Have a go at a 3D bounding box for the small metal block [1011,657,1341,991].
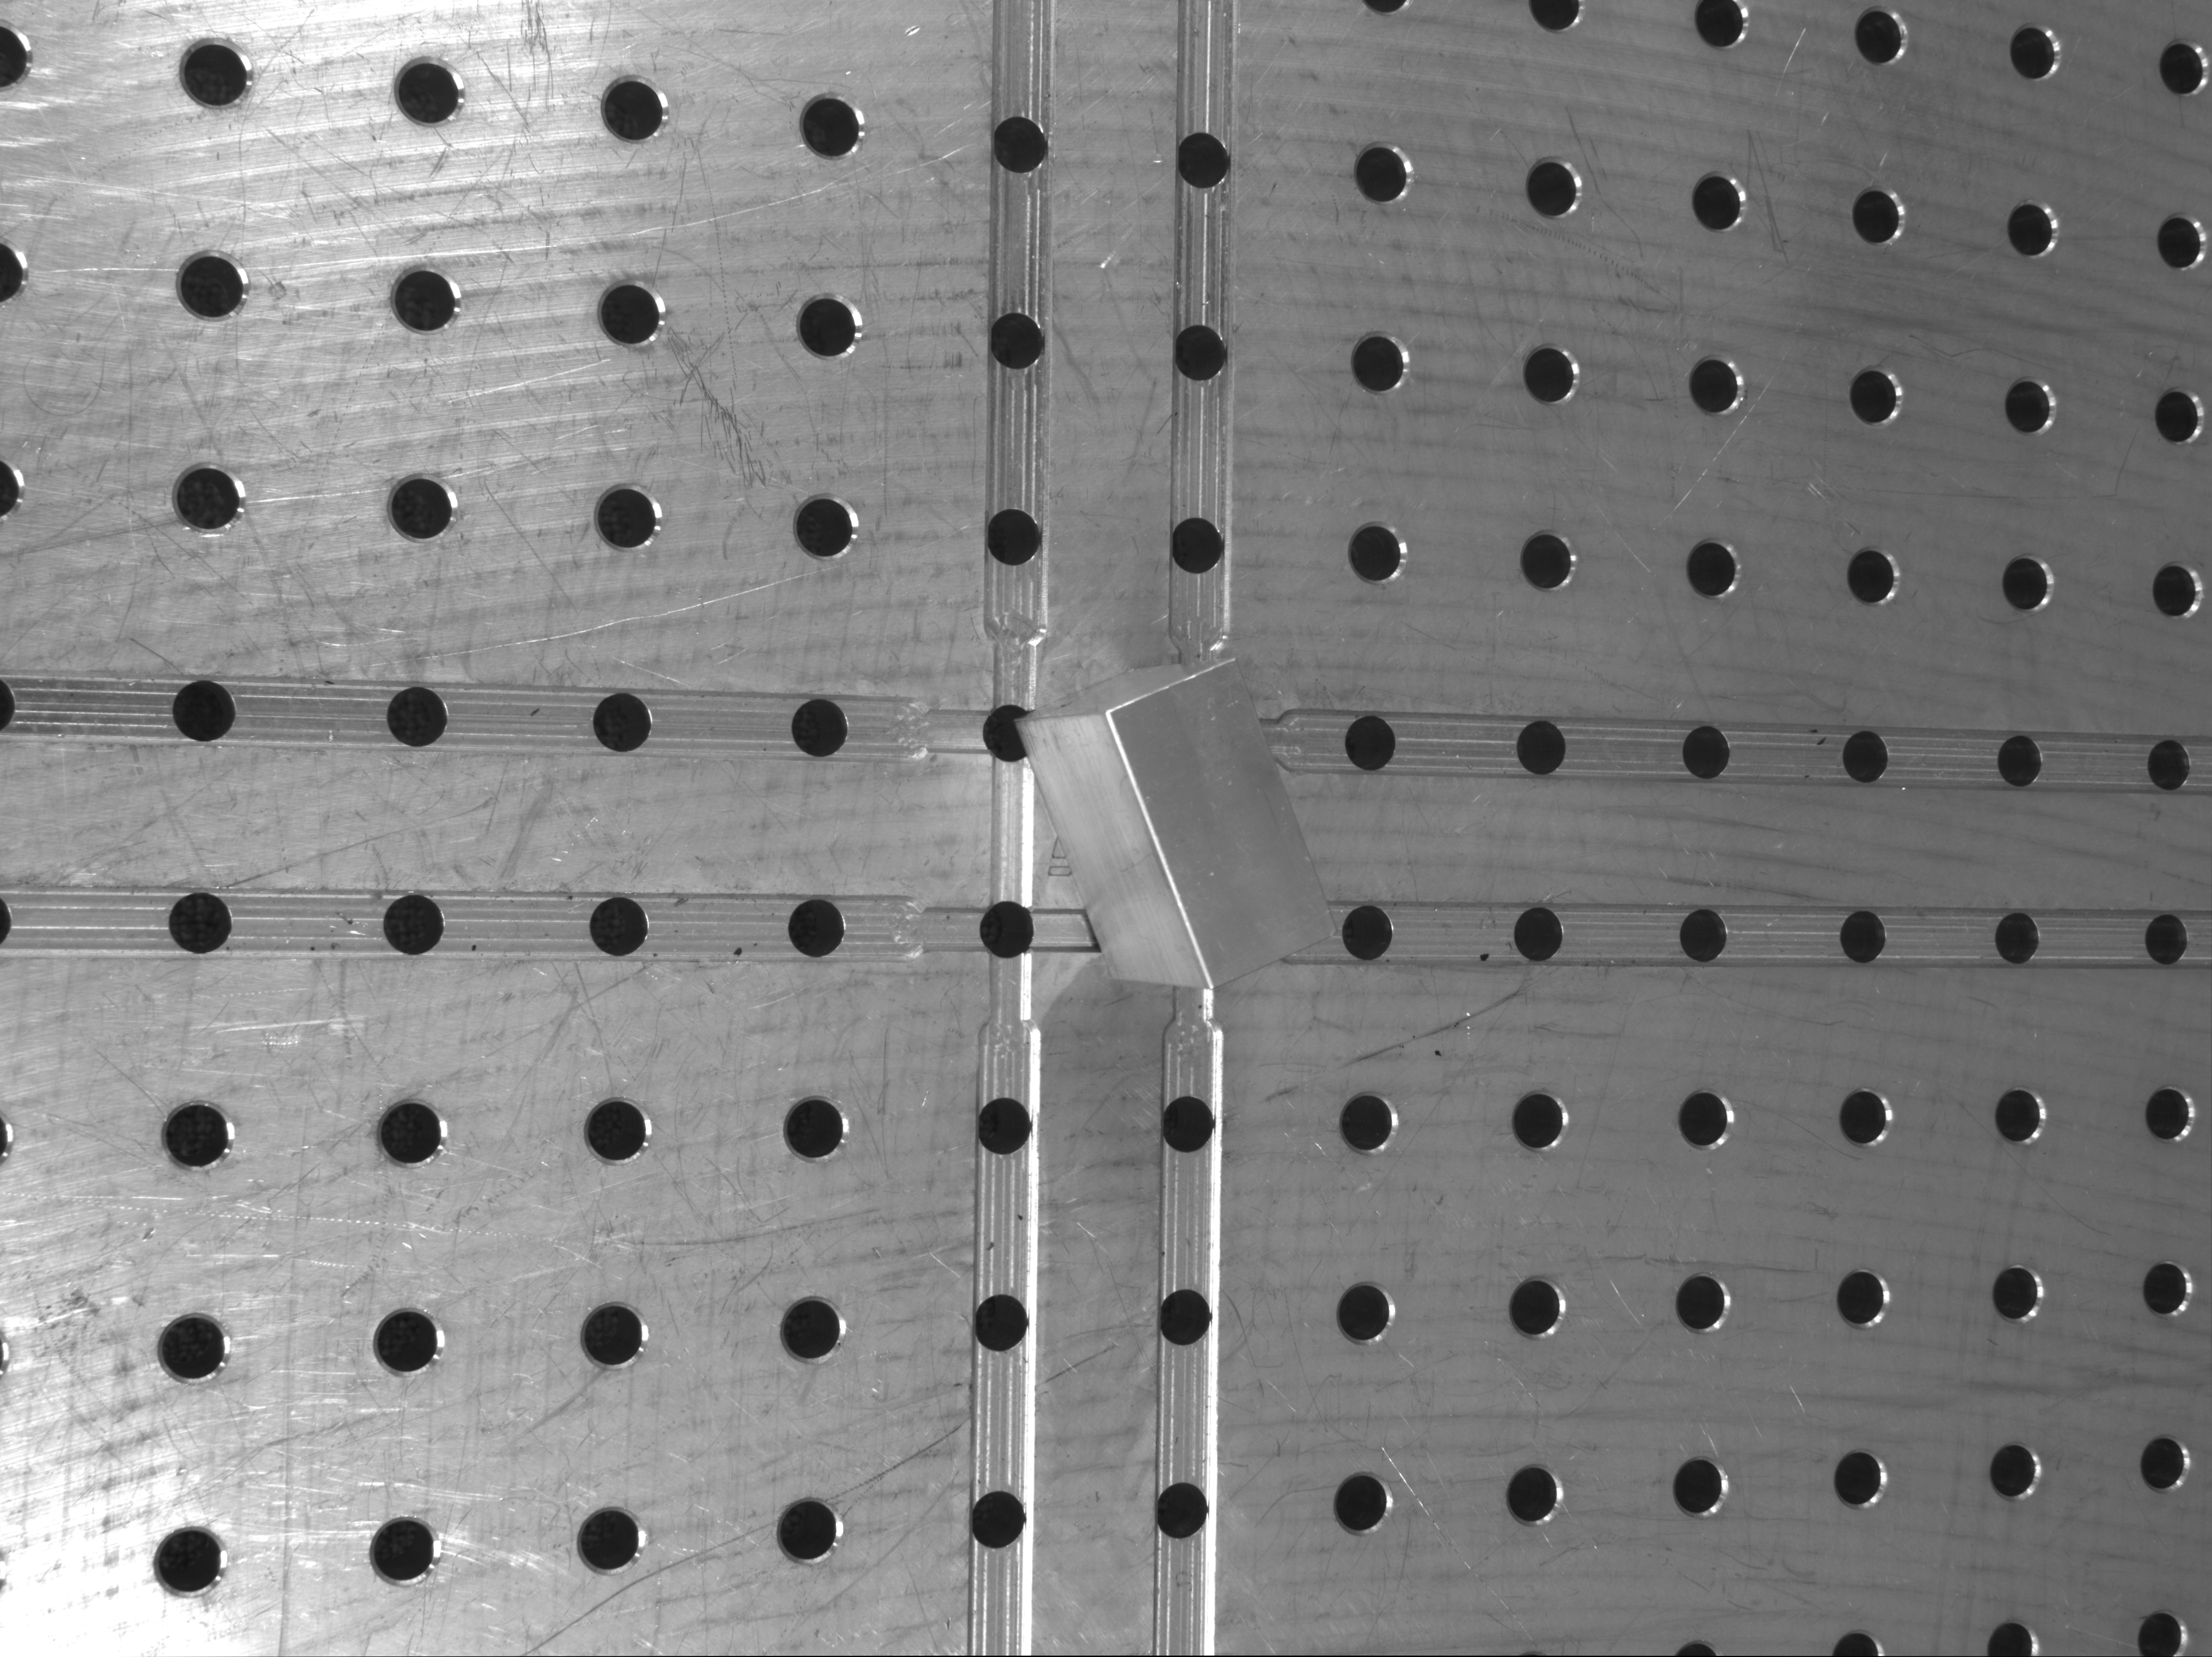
[{"bbox_3d":[0.011,-0.001,0.636,0.025,0.050,0.050,-24,98,-18],"label":"small metal block"}]
